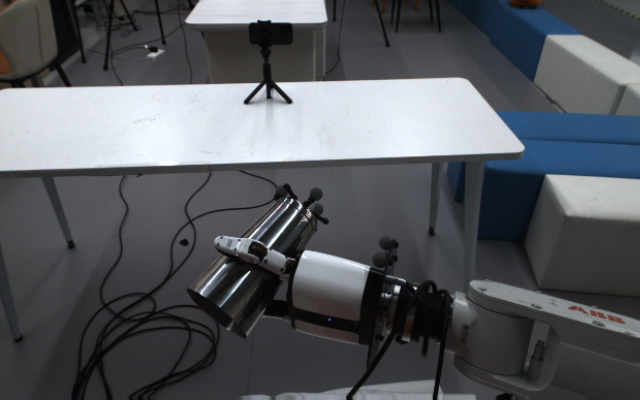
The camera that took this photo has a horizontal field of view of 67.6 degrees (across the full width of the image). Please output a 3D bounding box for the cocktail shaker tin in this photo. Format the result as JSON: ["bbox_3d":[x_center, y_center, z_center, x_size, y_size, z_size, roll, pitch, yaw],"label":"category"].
[{"bbox_3d":[-0.077,0.073,0.614,0.093,0.093,0.170,23,57,27],"label":"cocktail shaker tin"}]
